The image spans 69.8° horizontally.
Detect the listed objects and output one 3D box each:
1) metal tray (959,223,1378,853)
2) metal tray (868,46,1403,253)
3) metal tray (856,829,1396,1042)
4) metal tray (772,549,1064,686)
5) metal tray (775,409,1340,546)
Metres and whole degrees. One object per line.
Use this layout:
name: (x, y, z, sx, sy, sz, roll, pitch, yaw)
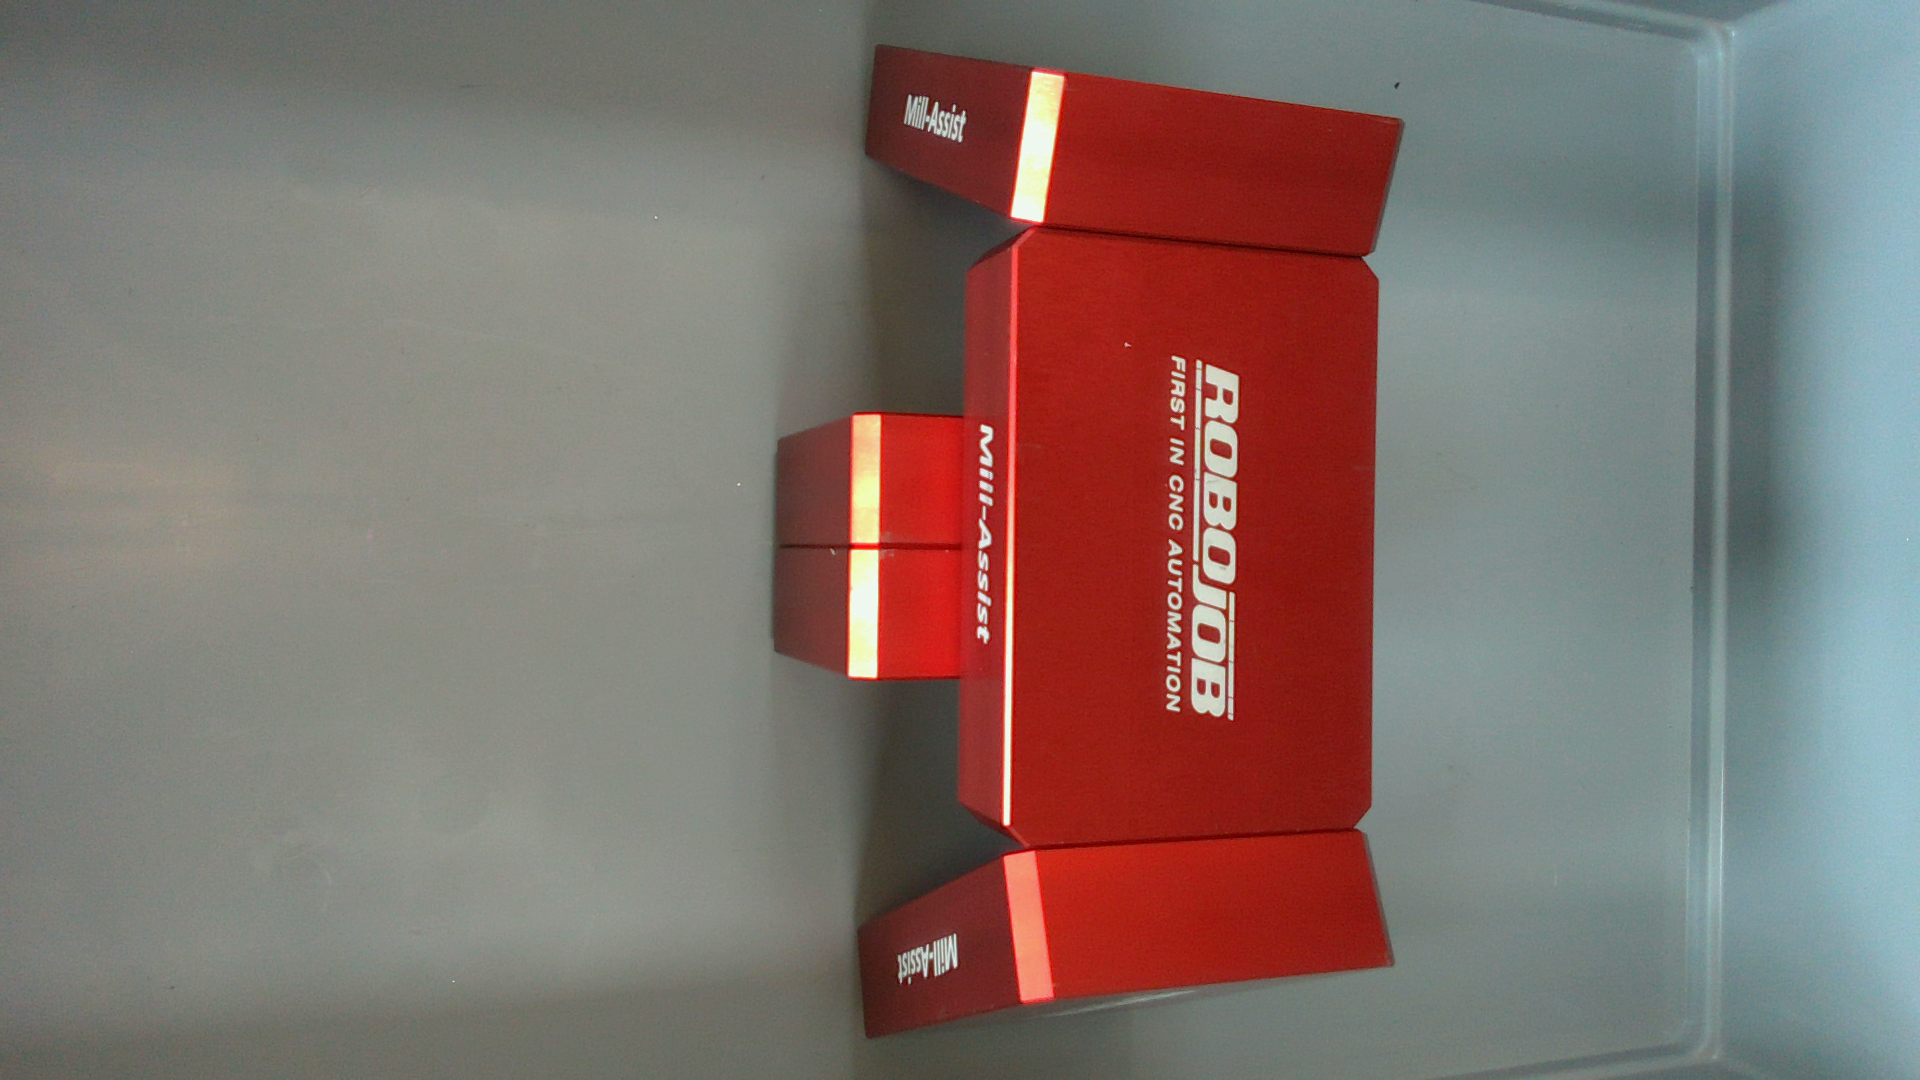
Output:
metal tray: (0.048, 0.000, 0.311, 0.090, 0.030, 0.130, 1, 90, -21)
metal tray: (0.036, -0.102, 0.349, 0.090, 0.130, 0.030, 1, 110, -20)
metal tray: (0.034, 0.103, 0.348, 0.090, 0.130, 0.030, 0, 68, -20)
metal tray: (0.022, 0.018, 0.367, 0.130, 0.090, 0.030, 1, 90, -20)
metal tray: (0.023, -0.013, 0.367, 0.130, 0.090, 0.030, 1, 90, -20)
